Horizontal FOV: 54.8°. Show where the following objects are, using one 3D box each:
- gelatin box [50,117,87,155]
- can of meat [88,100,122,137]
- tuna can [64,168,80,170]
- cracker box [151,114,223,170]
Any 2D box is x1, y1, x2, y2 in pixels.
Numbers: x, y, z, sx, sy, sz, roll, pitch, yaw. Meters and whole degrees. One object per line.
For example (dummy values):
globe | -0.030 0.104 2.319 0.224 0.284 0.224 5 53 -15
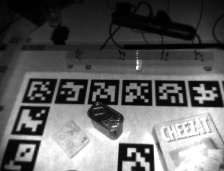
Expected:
gelatin box | -0.131 0.151 0.658 0.074 0.030 0.088 -39 64 -24
can of meat | -0.017 0.103 0.660 0.101 0.084 0.058 27 62 22
tuna can | -0.108 0.267 0.573 0.085 0.034 0.085 -2 59 4
cracker box | 0.217 0.194 0.586 0.164 0.072 0.212 -12 54 -5
